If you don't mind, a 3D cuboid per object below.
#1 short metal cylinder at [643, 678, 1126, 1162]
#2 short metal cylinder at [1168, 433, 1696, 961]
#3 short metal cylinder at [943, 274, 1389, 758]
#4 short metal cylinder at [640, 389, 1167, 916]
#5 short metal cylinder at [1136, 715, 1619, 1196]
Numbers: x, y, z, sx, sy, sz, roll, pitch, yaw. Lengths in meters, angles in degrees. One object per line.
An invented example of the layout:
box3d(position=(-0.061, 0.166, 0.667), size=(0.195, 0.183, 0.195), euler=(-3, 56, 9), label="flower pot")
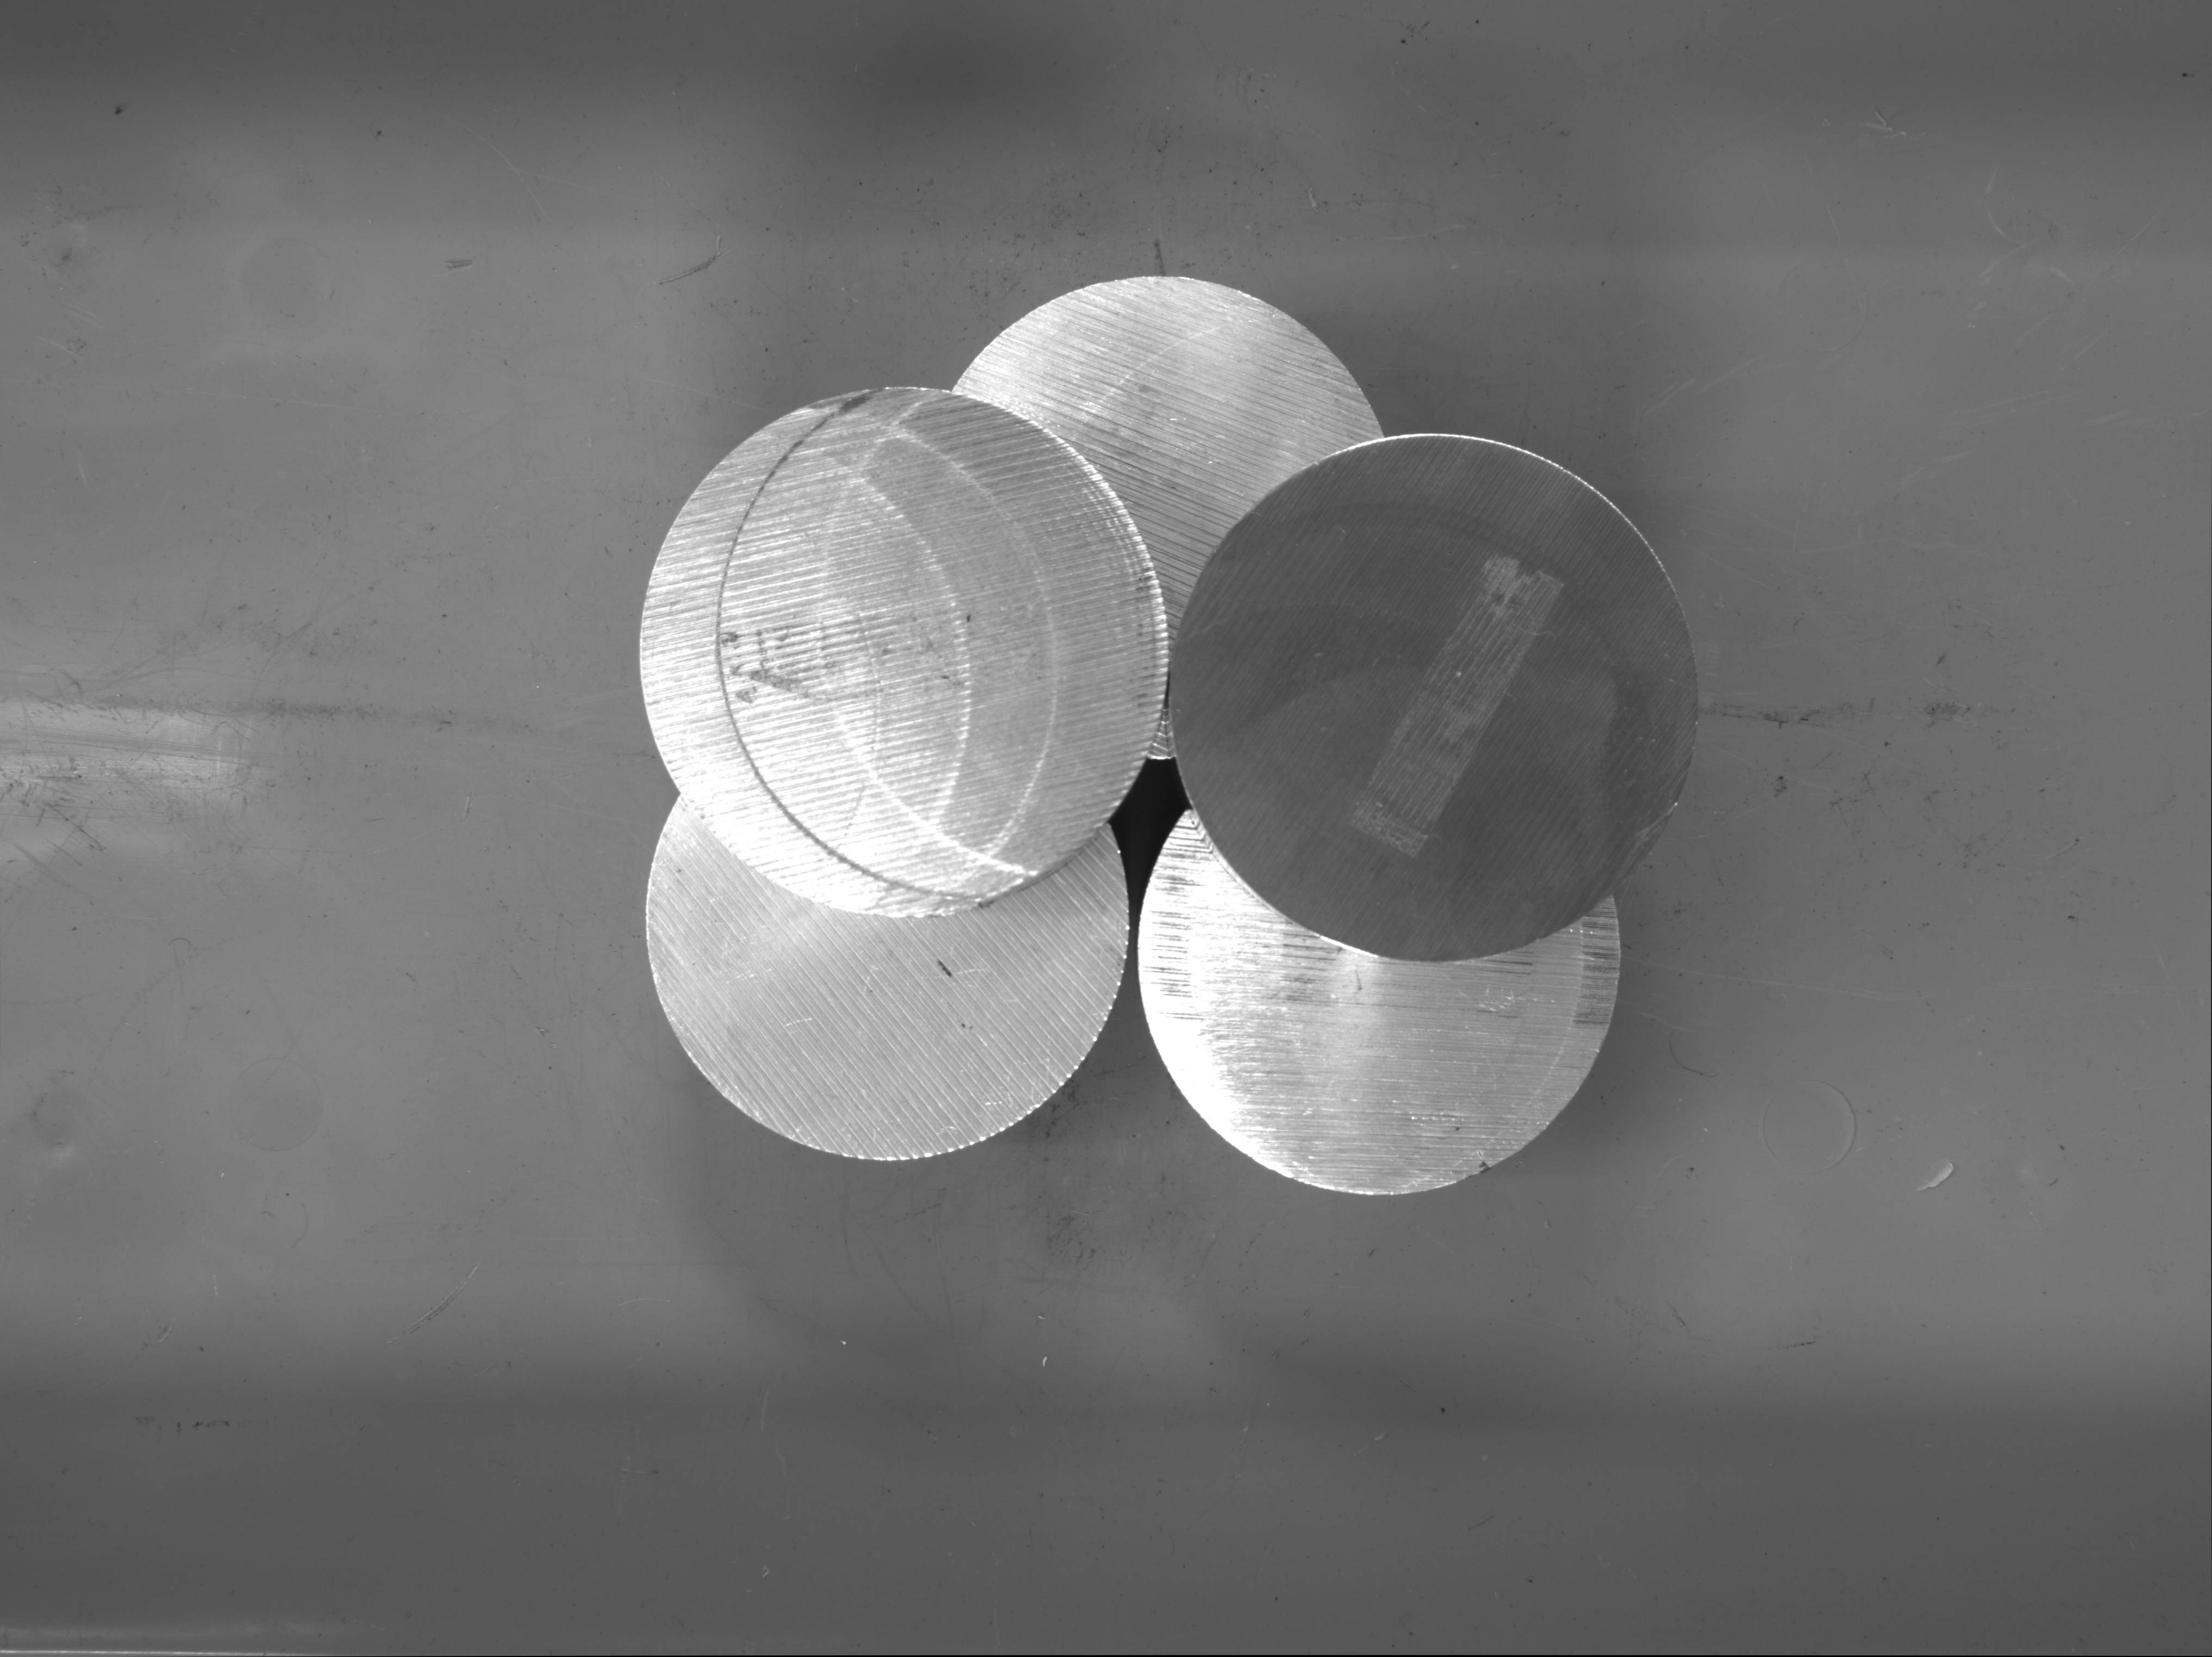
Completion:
box3d(position=(-0.036, 0.015, 0.631), size=(0.080, 0.050, 0.080), euler=(0, 90, 0), label="short metal cylinder")
box3d(position=(0.050, -0.020, 0.581), size=(0.080, 0.050, 0.080), euler=(0, 90, 0), label="short metal cylinder")
box3d(position=(0.008, -0.052, 0.632), size=(0.080, 0.050, 0.080), euler=(0, 90, 0), label="short metal cylinder")
box3d(position=(-0.031, -0.027, 0.582), size=(0.080, 0.050, 0.080), euler=(0, 90, 0), label="short metal cylinder")
box3d(position=(0.045, 0.021, 0.631), size=(0.080, 0.050, 0.080), euler=(0, 90, 0), label="short metal cylinder")
